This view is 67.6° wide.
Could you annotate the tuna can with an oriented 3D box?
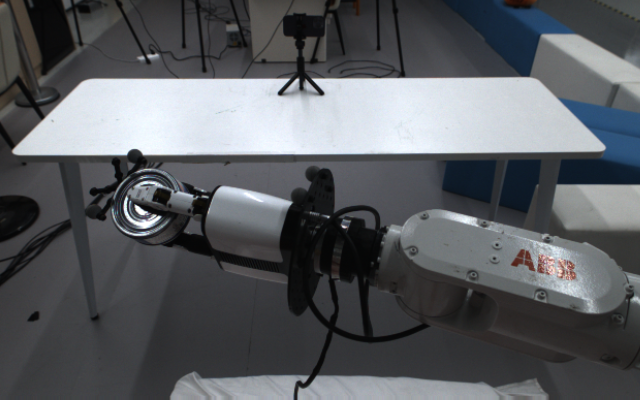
[{"bbox_3d":[-0.190,0.012,0.556,0.085,0.034,0.085,-1,74,5],"label":"tuna can"}]
